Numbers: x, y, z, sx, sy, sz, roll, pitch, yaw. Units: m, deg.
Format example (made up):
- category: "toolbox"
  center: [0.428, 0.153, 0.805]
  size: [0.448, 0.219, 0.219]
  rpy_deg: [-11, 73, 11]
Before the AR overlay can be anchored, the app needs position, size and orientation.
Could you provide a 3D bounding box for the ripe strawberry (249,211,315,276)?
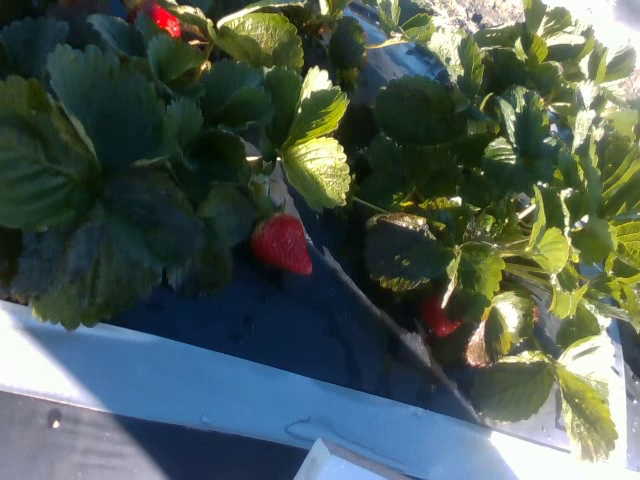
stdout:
- category: "ripe strawberry"
  center: [-0.023, 0.005, 0.422]
  size: [0.045, 0.059, 0.042]
  rpy_deg: [-34, -1, -10]
